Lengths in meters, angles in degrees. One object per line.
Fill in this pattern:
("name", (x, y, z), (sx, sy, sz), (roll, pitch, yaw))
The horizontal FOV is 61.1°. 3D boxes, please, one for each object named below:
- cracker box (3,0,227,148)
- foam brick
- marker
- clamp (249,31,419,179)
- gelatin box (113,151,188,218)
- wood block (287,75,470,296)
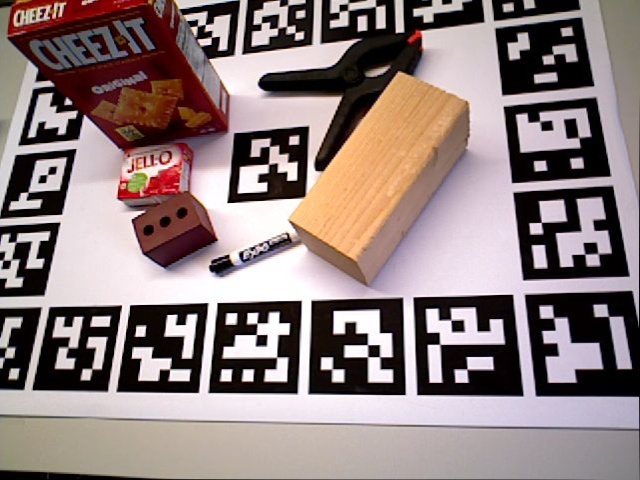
("cracker box", (-0.219, -0.201, 0.627), (0.164, 0.215, 0.071), (-7, 66, 8))
("foam brick", (-0.177, -0.001, 0.639), (0.078, 0.051, 0.052), (-27, 68, 3))
("marker", (-0.087, 0.026, 0.623), (0.121, 0.020, 0.019), (-23, 68, 5))
("clamp", (0.034, -0.187, 0.661), (0.202, 0.037, 0.164), (-33, 67, 1))
("gelatin box", (-0.214, -0.070, 0.687), (0.089, 0.030, 0.073), (-5, 71, 12))
("wood block", (0.066, -0.058, 0.582), (0.090, 0.092, 0.204), (31, 77, 24))
